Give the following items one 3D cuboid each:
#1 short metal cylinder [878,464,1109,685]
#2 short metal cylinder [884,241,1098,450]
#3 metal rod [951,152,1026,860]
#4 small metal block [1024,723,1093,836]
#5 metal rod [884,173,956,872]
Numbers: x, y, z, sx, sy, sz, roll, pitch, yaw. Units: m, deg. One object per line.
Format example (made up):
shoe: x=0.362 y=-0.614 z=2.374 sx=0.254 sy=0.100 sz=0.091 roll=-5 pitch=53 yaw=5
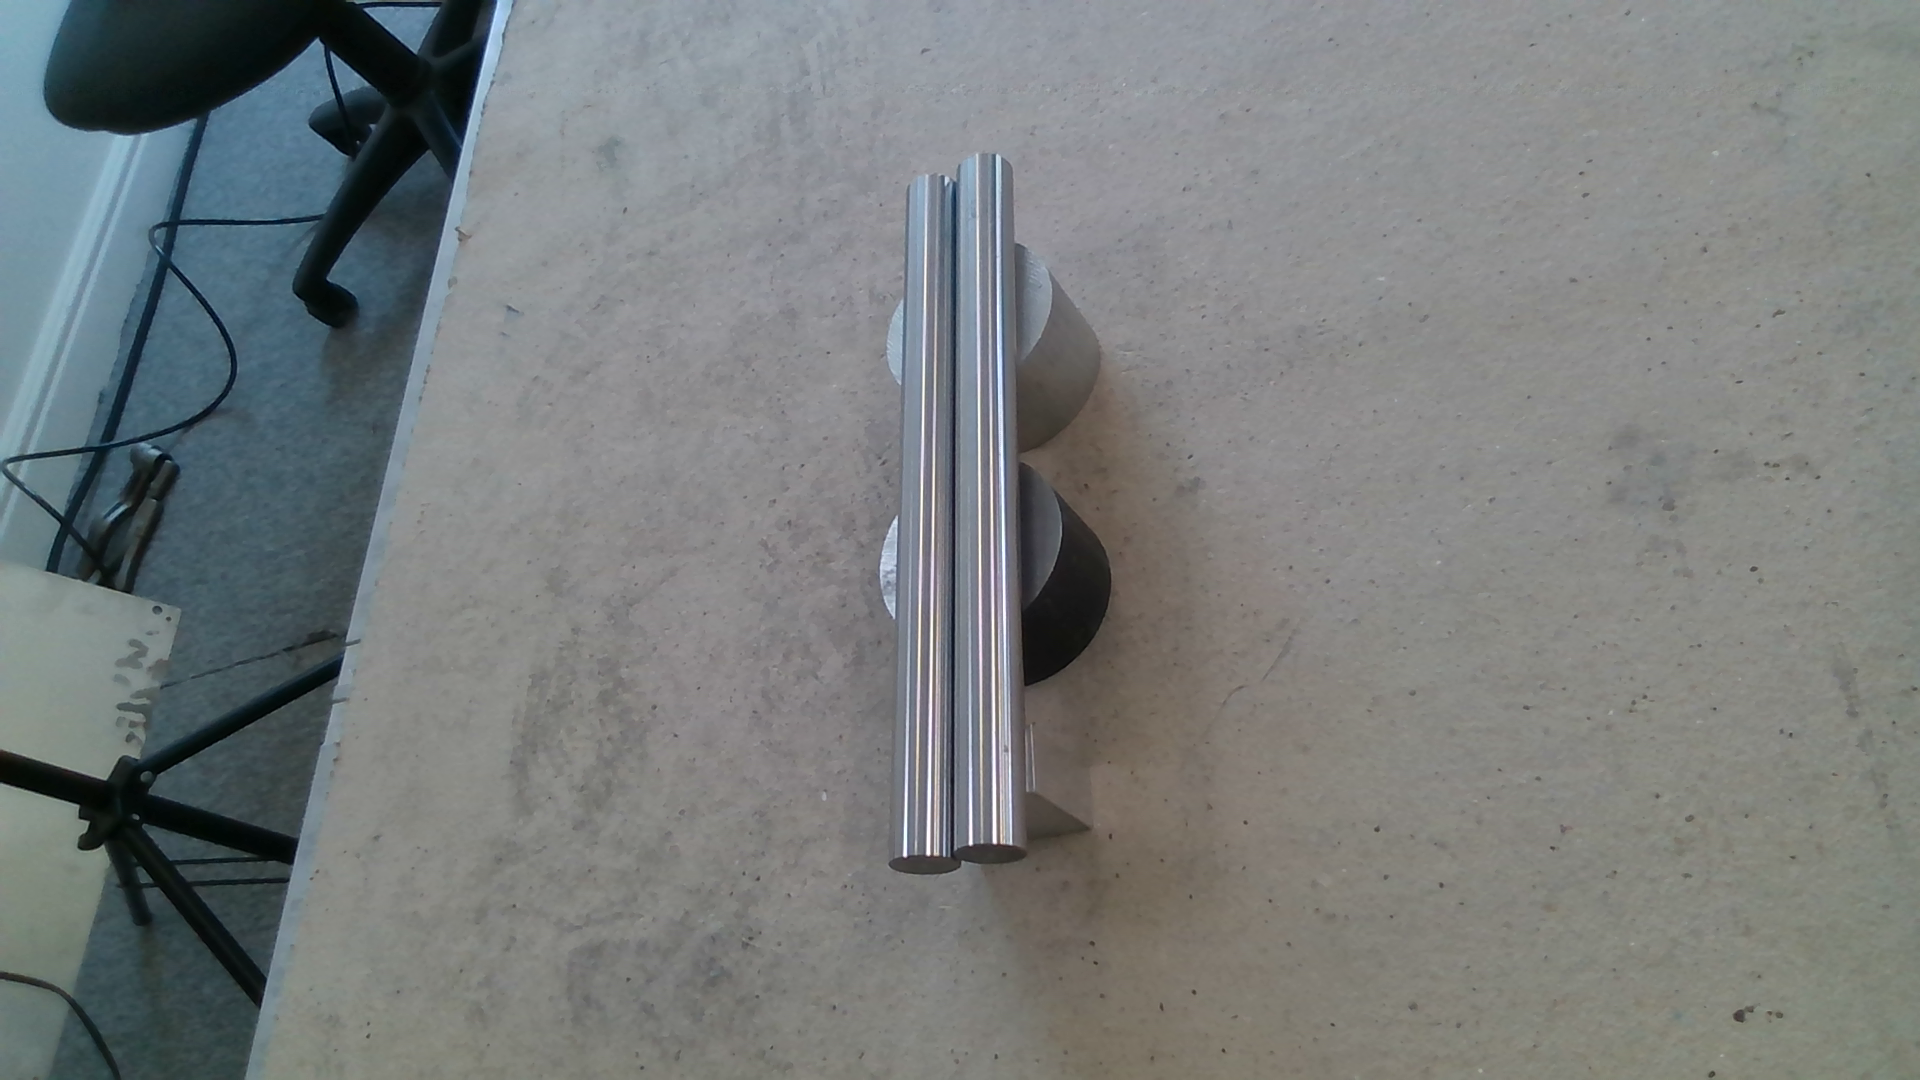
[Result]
short metal cylinder: x=0.014 y=0.013 z=0.555 sx=0.080 sy=0.050 sz=0.080 roll=-14 pitch=59 yaw=25
short metal cylinder: x=0.014 y=-0.084 z=0.605 sx=0.080 sy=0.050 sz=0.080 roll=-14 pitch=59 yaw=25
metal rod: x=0.010 y=-0.028 z=0.530 sx=0.025 sy=0.025 sz=0.299 roll=-14 pitch=59 yaw=25
small metal block: x=0.016 y=0.093 z=0.513 sx=0.050 sy=0.050 sz=0.025 roll=-16 pitch=59 yaw=24
metal rod: x=-0.013 y=-0.022 z=0.540 sx=0.025 sy=0.025 sz=0.299 roll=-14 pitch=59 yaw=25
